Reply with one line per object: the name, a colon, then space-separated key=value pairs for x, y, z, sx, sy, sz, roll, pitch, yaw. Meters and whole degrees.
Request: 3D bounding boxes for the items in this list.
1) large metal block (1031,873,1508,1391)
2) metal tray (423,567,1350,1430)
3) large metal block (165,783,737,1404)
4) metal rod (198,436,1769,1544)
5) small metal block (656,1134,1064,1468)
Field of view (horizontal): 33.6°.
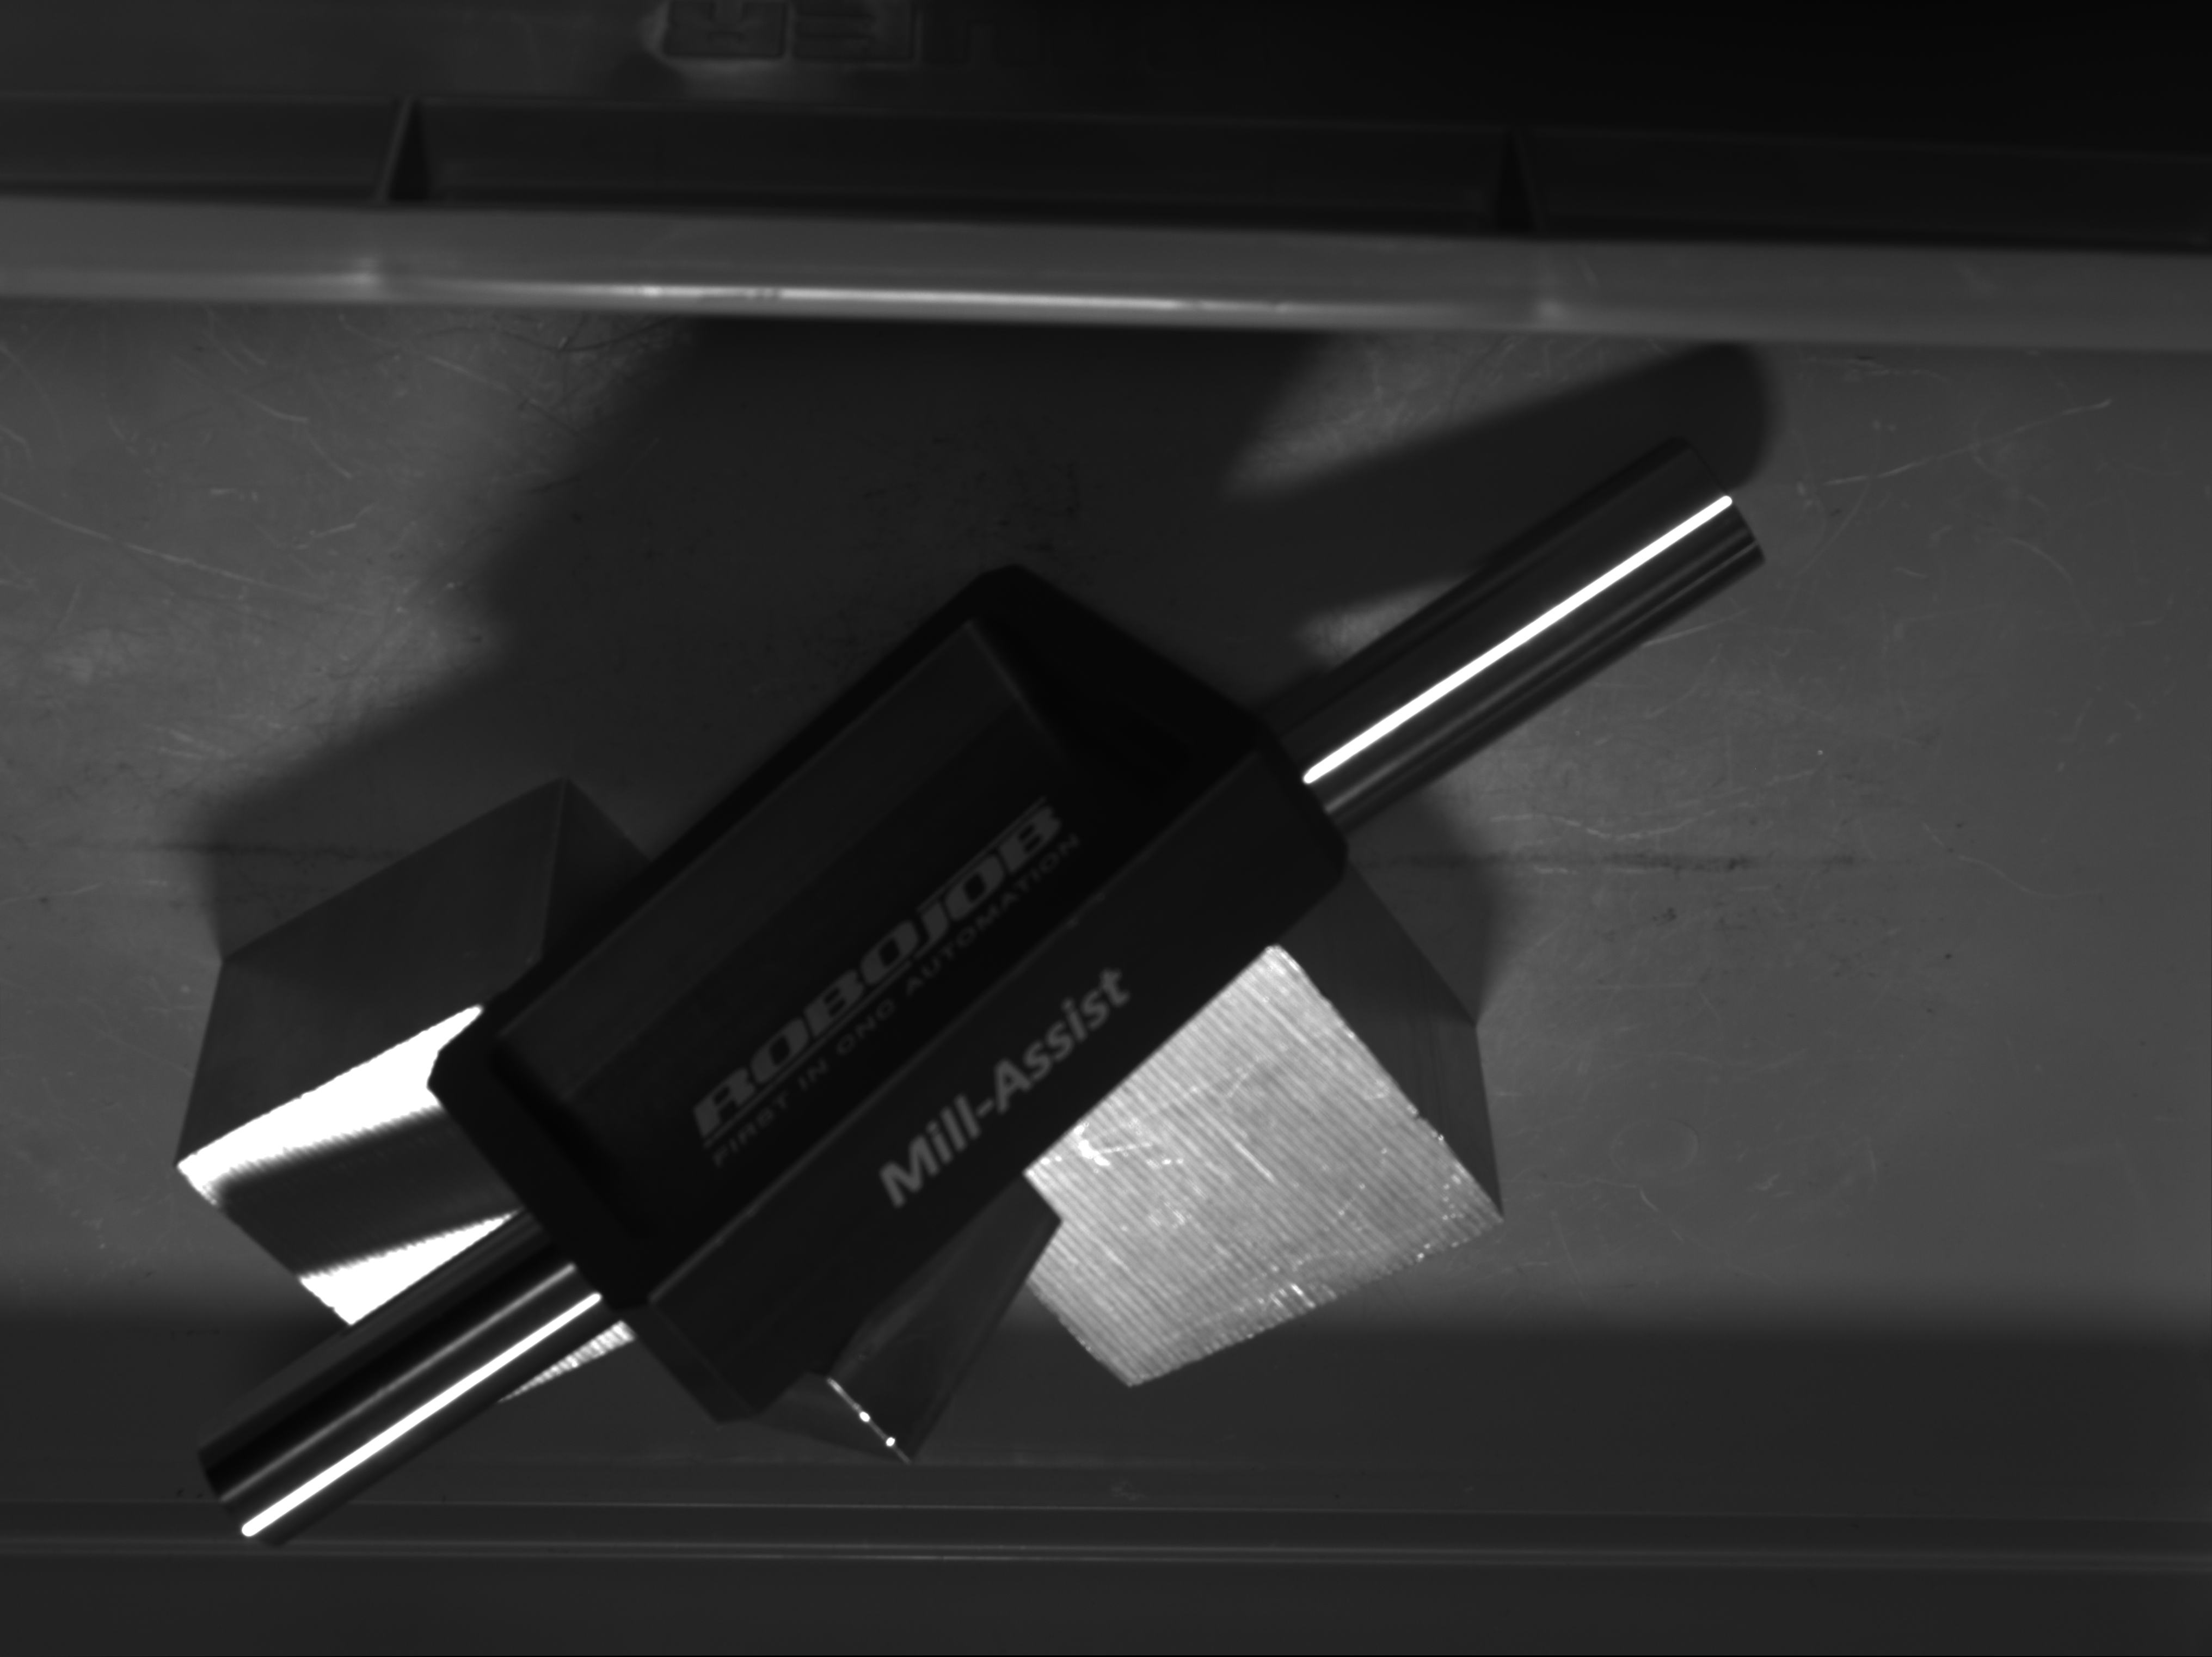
large metal block: x=0.015 y=0.045 z=0.659 sx=0.080 sy=0.050 sz=0.080 roll=-27 pitch=126 yaw=19
metal tray: x=-0.036 y=0.023 z=0.578 sx=0.130 sy=0.090 sz=0.030 roll=-42 pitch=127 yaw=-9
large metal block: x=-0.107 y=0.051 z=0.657 sx=0.080 sy=0.050 sz=0.080 roll=-27 pitch=126 yaw=19
metal rod: x=-0.023 y=0.029 z=0.612 sx=0.300 sy=0.025 sz=0.025 roll=-34 pitch=125 yaw=6
small metal block: x=-0.044 y=0.076 z=0.619 sx=0.050 sy=0.050 sz=0.025 roll=5 pitch=142 yaw=45
